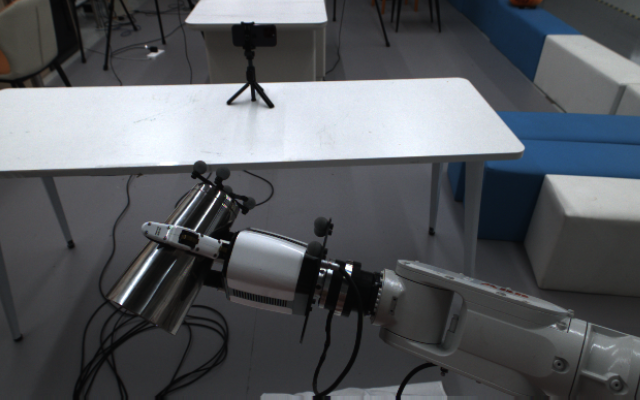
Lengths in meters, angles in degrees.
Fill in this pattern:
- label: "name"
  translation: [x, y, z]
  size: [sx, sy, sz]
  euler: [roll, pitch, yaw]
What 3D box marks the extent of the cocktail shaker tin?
- label: "cocktail shaker tin"
  translation: [-0.168, 0.064, 0.588]
  size: [0.093, 0.093, 0.170]
  euler: [18, 65, 22]
